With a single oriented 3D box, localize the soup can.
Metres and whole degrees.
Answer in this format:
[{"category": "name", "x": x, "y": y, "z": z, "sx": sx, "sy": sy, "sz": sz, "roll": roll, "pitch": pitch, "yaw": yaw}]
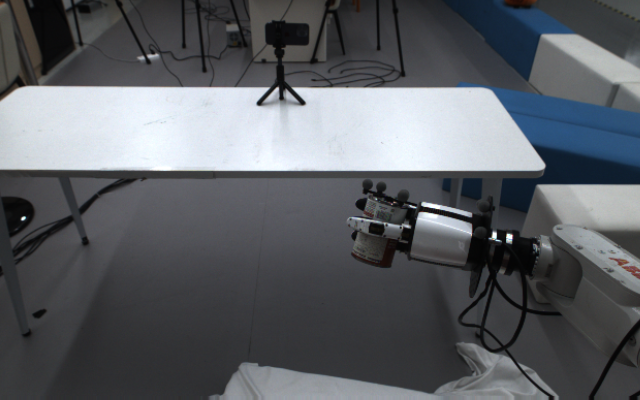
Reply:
[{"category": "soup can", "x": 0.096, "y": 0.049, "z": 0.772, "sx": 0.067, "sy": 0.101, "sz": 0.067, "roll": 15, "pitch": 7, "yaw": -2}]
